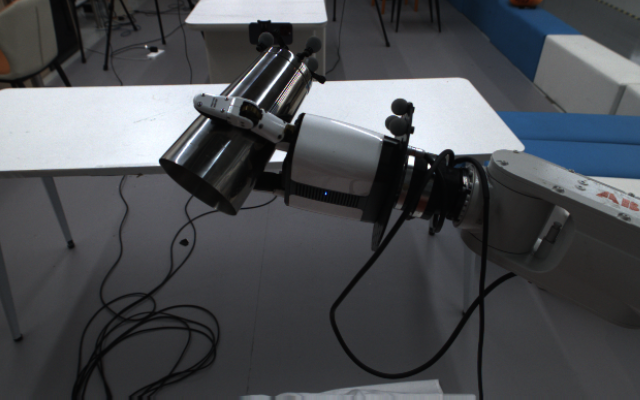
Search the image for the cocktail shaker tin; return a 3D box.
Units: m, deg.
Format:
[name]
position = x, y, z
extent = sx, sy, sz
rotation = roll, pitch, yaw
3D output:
[cocktail shaker tin]
position = -0.078, -0.083, 0.510
extent = 0.093, 0.093, 0.170
rotation = 22, 67, 26
